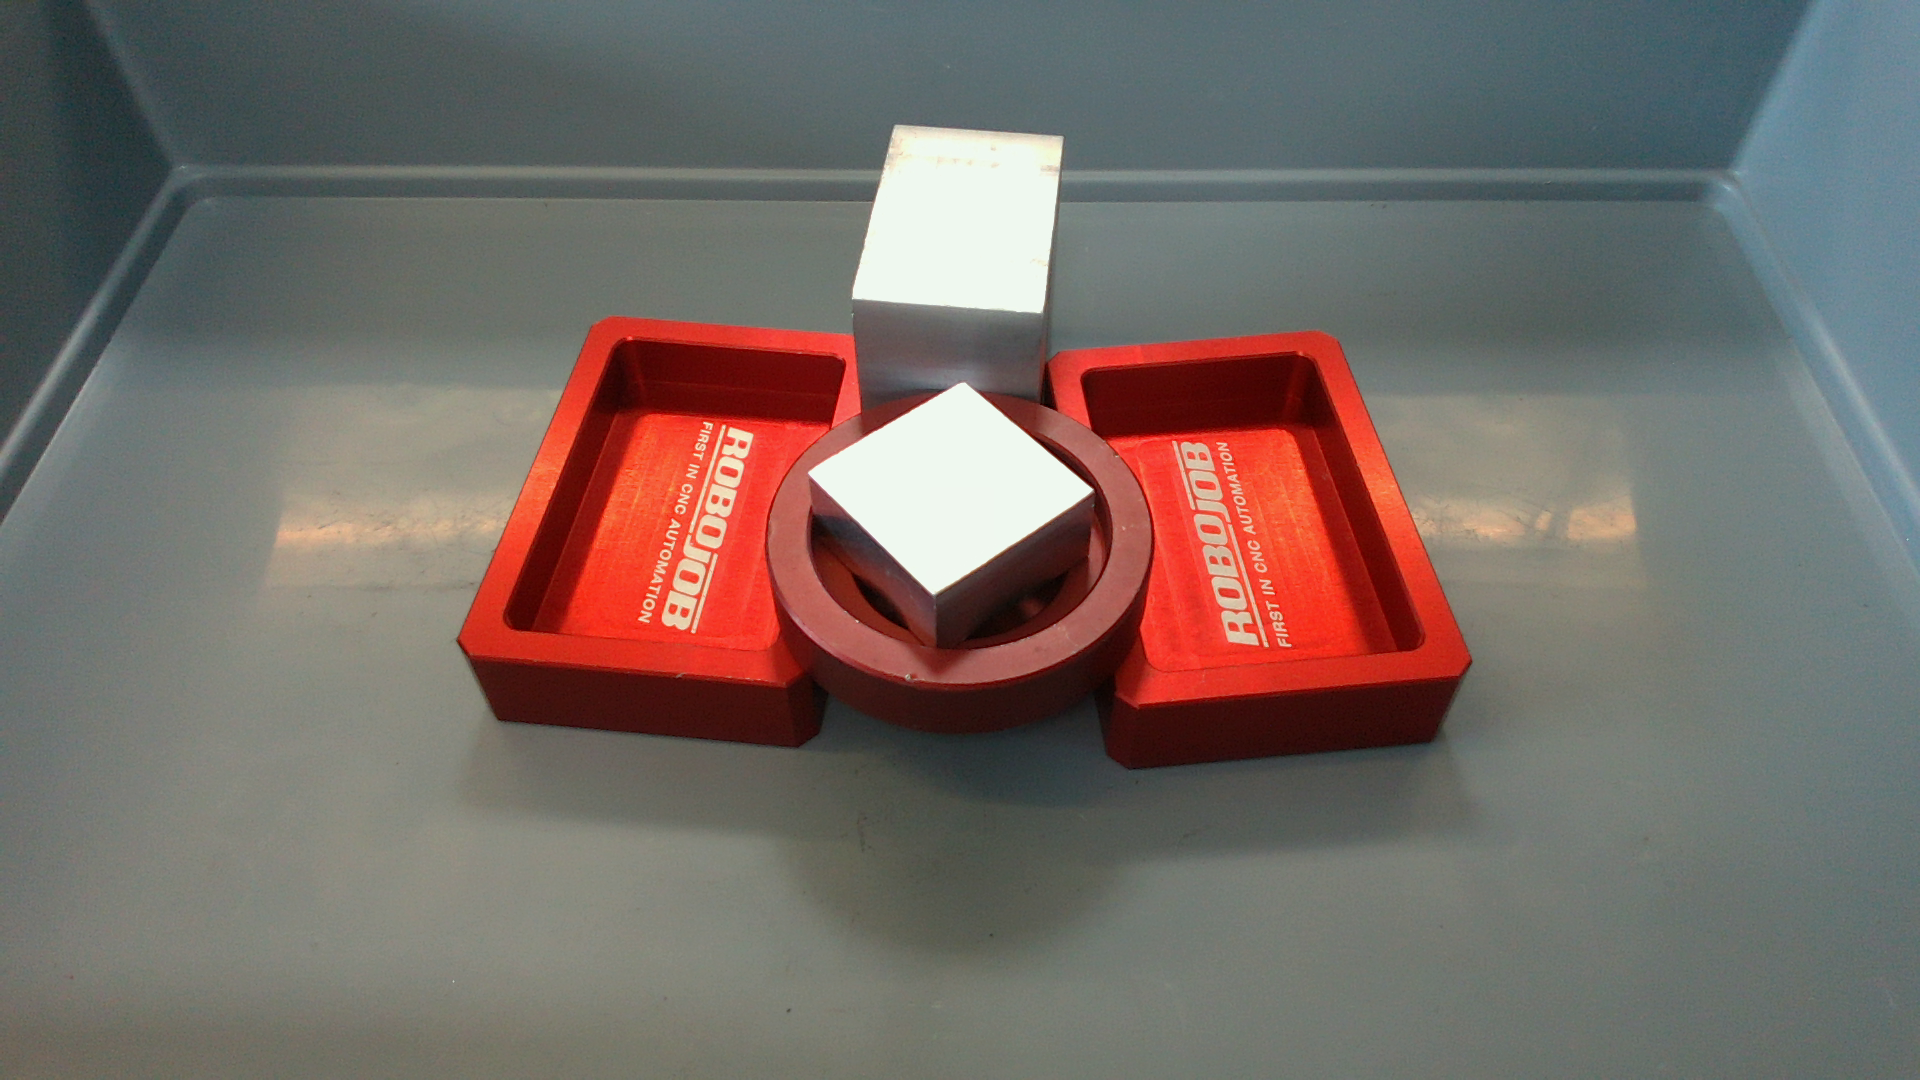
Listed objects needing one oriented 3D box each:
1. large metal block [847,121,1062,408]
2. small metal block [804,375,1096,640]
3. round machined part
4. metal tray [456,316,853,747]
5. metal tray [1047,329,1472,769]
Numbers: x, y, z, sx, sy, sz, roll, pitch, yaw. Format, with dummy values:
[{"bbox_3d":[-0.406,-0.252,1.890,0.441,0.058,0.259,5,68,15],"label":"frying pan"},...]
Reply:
[{"bbox_3d":[0.001,-0.065,0.409,0.050,0.080,0.080,5,50,4],"label":"large metal block"},{"bbox_3d":[-0.003,-0.008,0.341,0.050,0.025,0.050,-32,57,-24],"label":"small metal block"},{"bbox_3d":[0.000,0.009,0.359,0.098,0.042,0.098,0,50,0],"label":"round machined part"},{"bbox_3d":[-0.076,-0.008,0.393,0.090,0.030,0.130,5,50,4],"label":"metal tray"},{"bbox_3d":[0.077,-0.003,0.389,0.090,0.030,0.130,-5,50,-4],"label":"metal tray"}]
